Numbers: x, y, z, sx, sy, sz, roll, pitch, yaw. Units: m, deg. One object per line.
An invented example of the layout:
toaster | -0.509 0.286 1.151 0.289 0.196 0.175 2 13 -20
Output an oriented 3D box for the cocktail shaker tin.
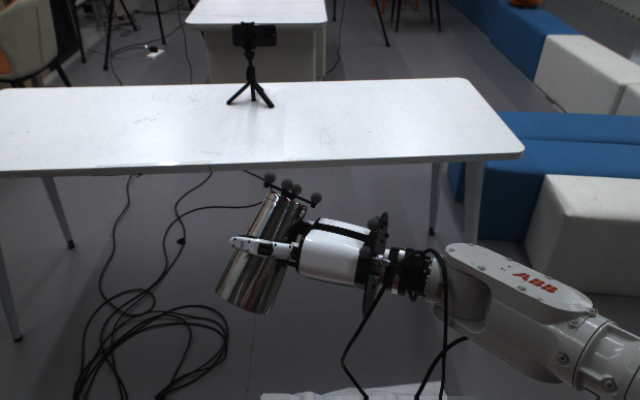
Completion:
cocktail shaker tin | -0.081 0.074 0.736 0.093 0.170 0.093 23 0 0
